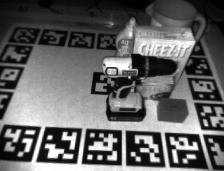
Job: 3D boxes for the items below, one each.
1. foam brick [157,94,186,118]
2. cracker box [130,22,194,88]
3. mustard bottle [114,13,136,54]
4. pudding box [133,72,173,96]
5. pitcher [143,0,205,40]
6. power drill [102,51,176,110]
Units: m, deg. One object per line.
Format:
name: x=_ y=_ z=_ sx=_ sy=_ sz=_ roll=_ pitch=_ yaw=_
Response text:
foam brick: x=0.179 y=0.062 z=0.658 sx=0.078 sy=0.051 sz=0.052 roll=4 pitch=54 yaw=-1
cracker box: x=0.135 y=-0.082 z=0.657 sx=0.164 sy=0.215 sz=0.071 roll=-1 pitch=50 yaw=-1
mustard bottle: x=0.052 y=-0.162 z=0.720 sx=0.096 sy=0.192 sz=0.058 roll=13 pitch=53 yaw=7
pudding box: x=0.124 y=-0.011 z=0.669 sx=0.114 sy=0.090 sz=0.038 roll=1 pitch=50 yaw=0
pitcher: x=0.185 y=-0.163 z=0.718 sx=0.188 sy=0.244 sz=0.133 roll=6 pitch=52 yaw=4
power drill: x=0.064 y=-0.008 z=0.574 sx=0.185 sy=0.188 sz=0.057 roll=2 pitch=48 yaw=-4
